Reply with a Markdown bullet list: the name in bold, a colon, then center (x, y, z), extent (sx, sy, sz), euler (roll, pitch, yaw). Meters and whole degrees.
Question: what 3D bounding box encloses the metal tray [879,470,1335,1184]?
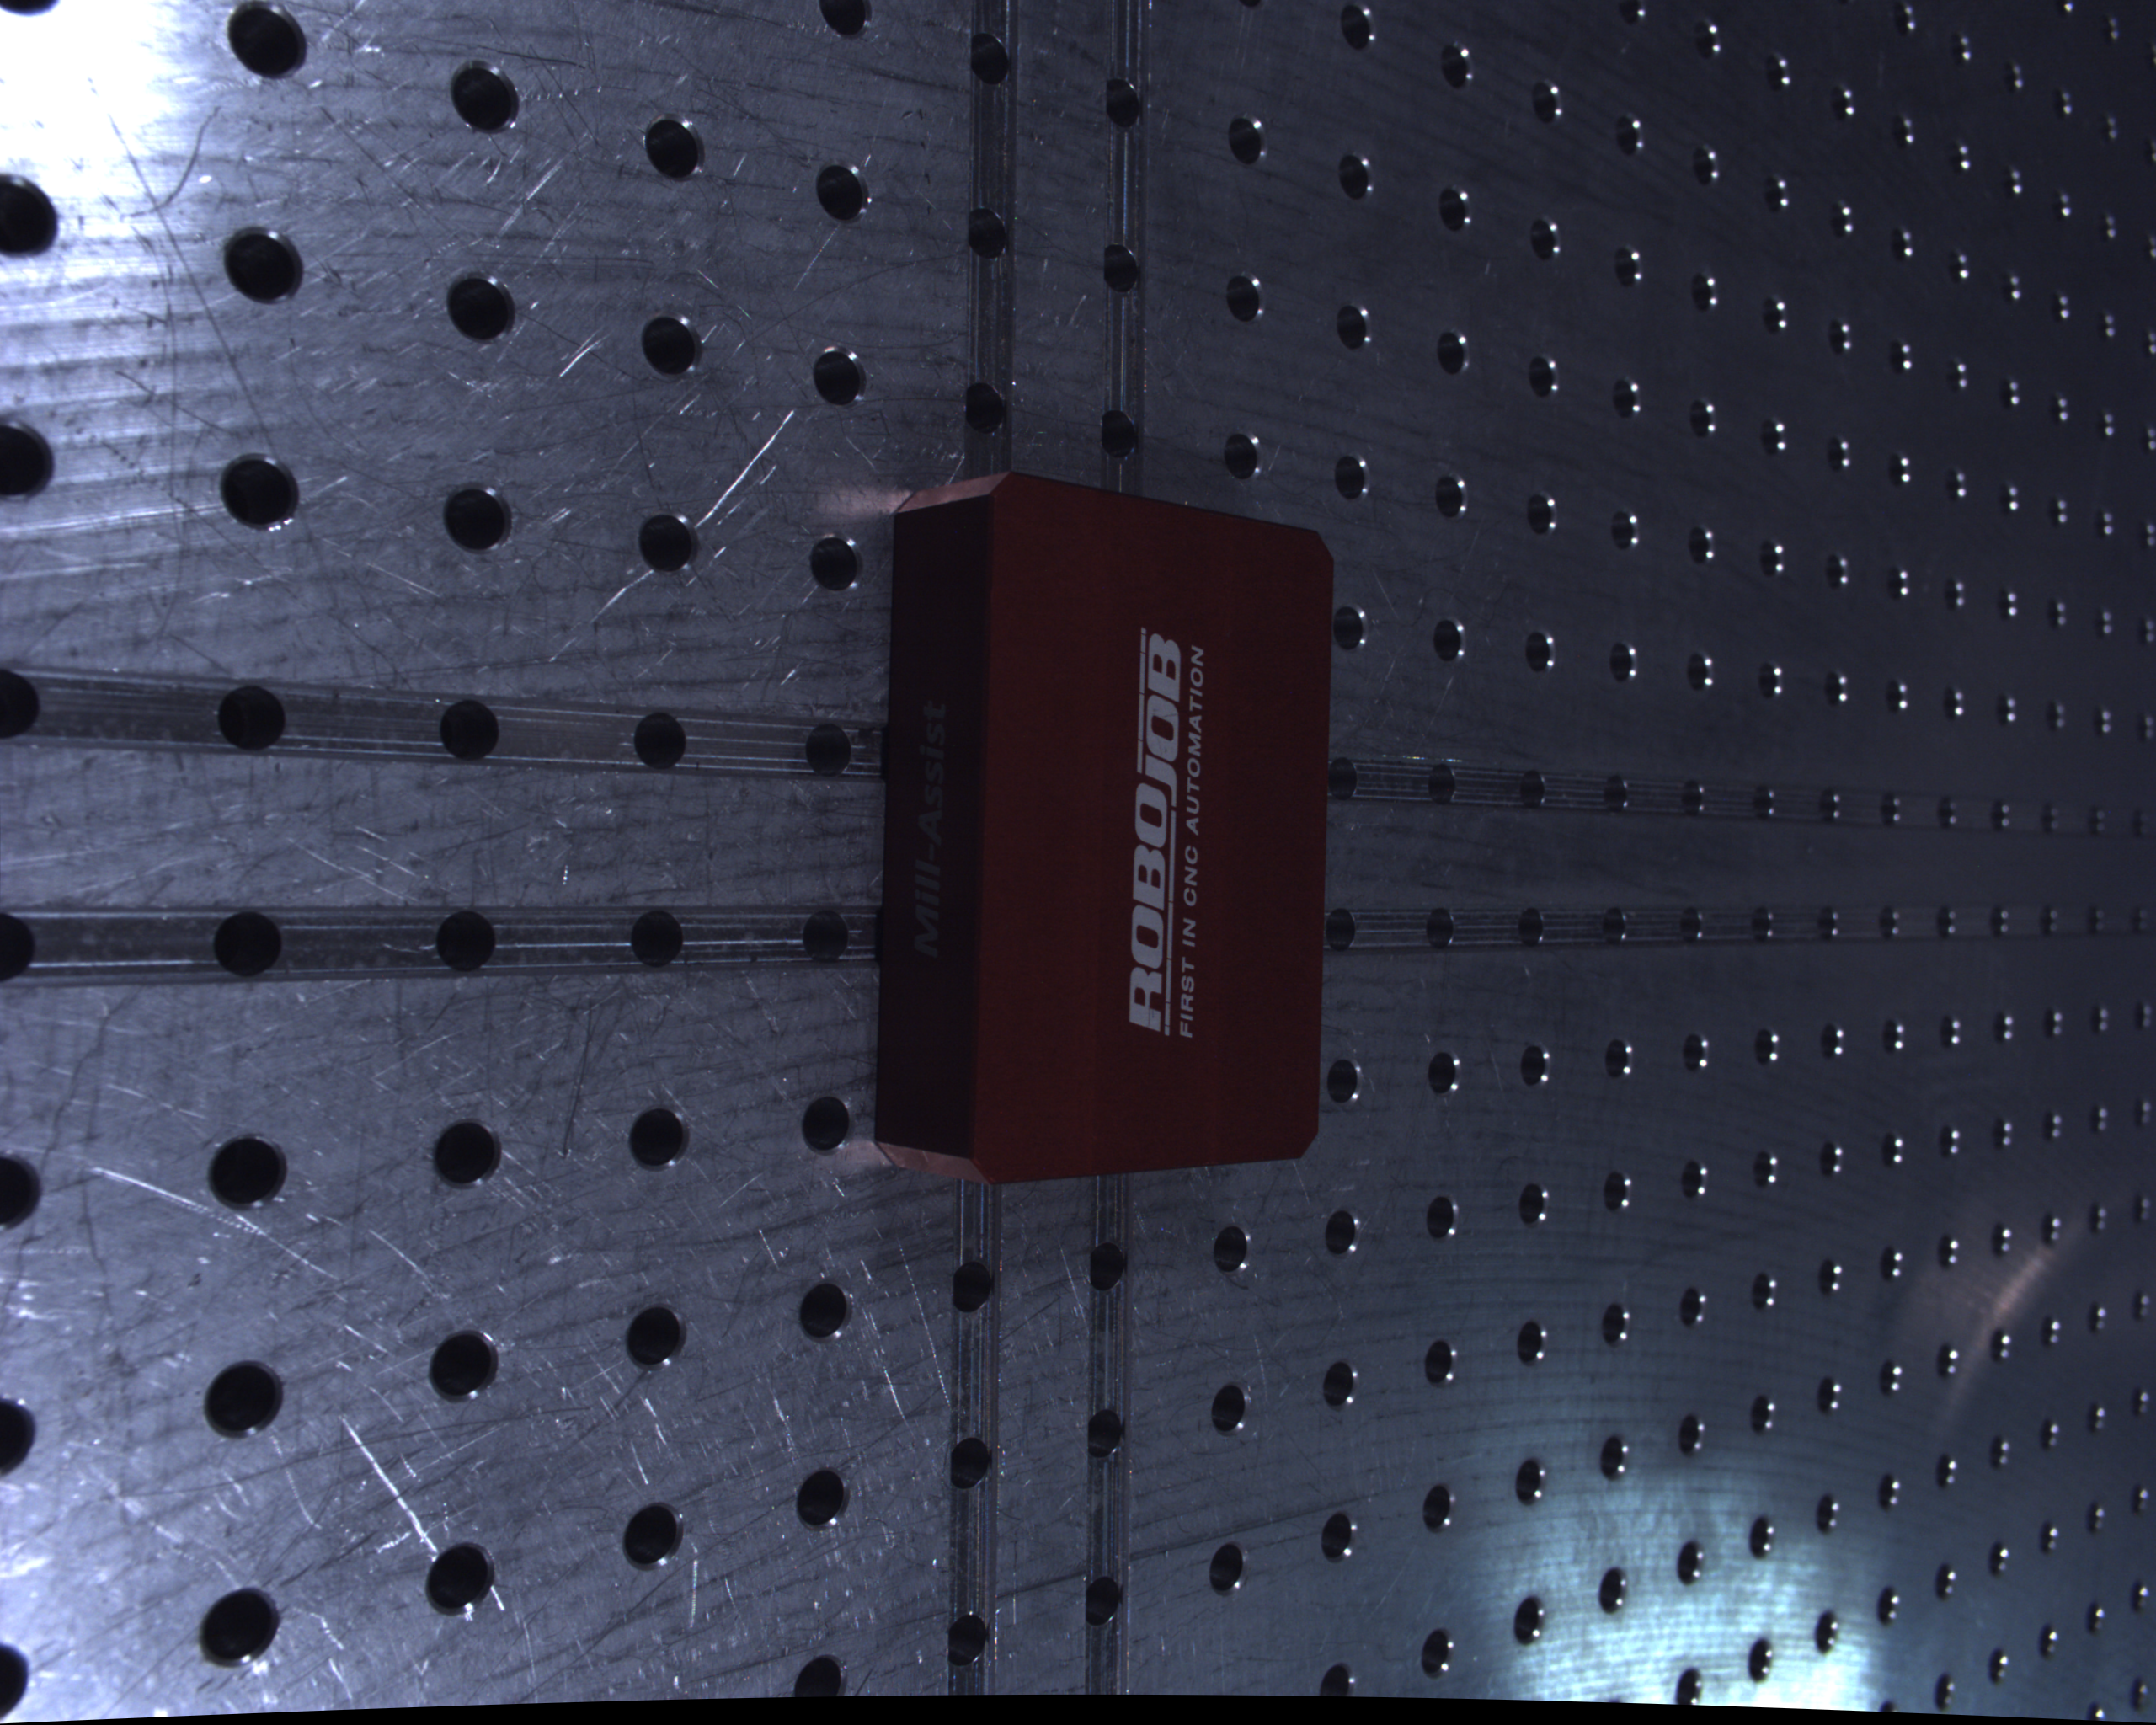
- **metal tray**: center (0.008, -0.005, 0.414), extent (0.091, 0.030, 0.129), euler (3, 88, -40)
